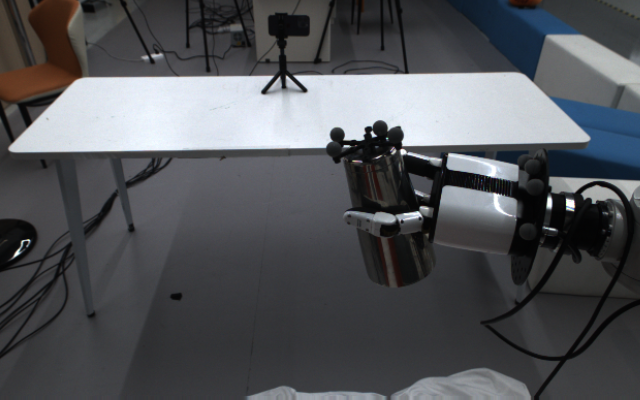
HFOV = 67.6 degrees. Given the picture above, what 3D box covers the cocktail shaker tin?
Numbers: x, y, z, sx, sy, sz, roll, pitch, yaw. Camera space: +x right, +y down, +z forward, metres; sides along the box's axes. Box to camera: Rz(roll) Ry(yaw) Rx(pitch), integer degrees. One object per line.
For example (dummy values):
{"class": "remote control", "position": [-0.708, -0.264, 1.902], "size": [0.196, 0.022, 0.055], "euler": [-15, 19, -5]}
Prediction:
{"class": "cocktail shaker tin", "position": [0.083, 0.012, 0.594], "size": [0.093, 0.170, 0.093], "euler": [-15, 28, 8]}
